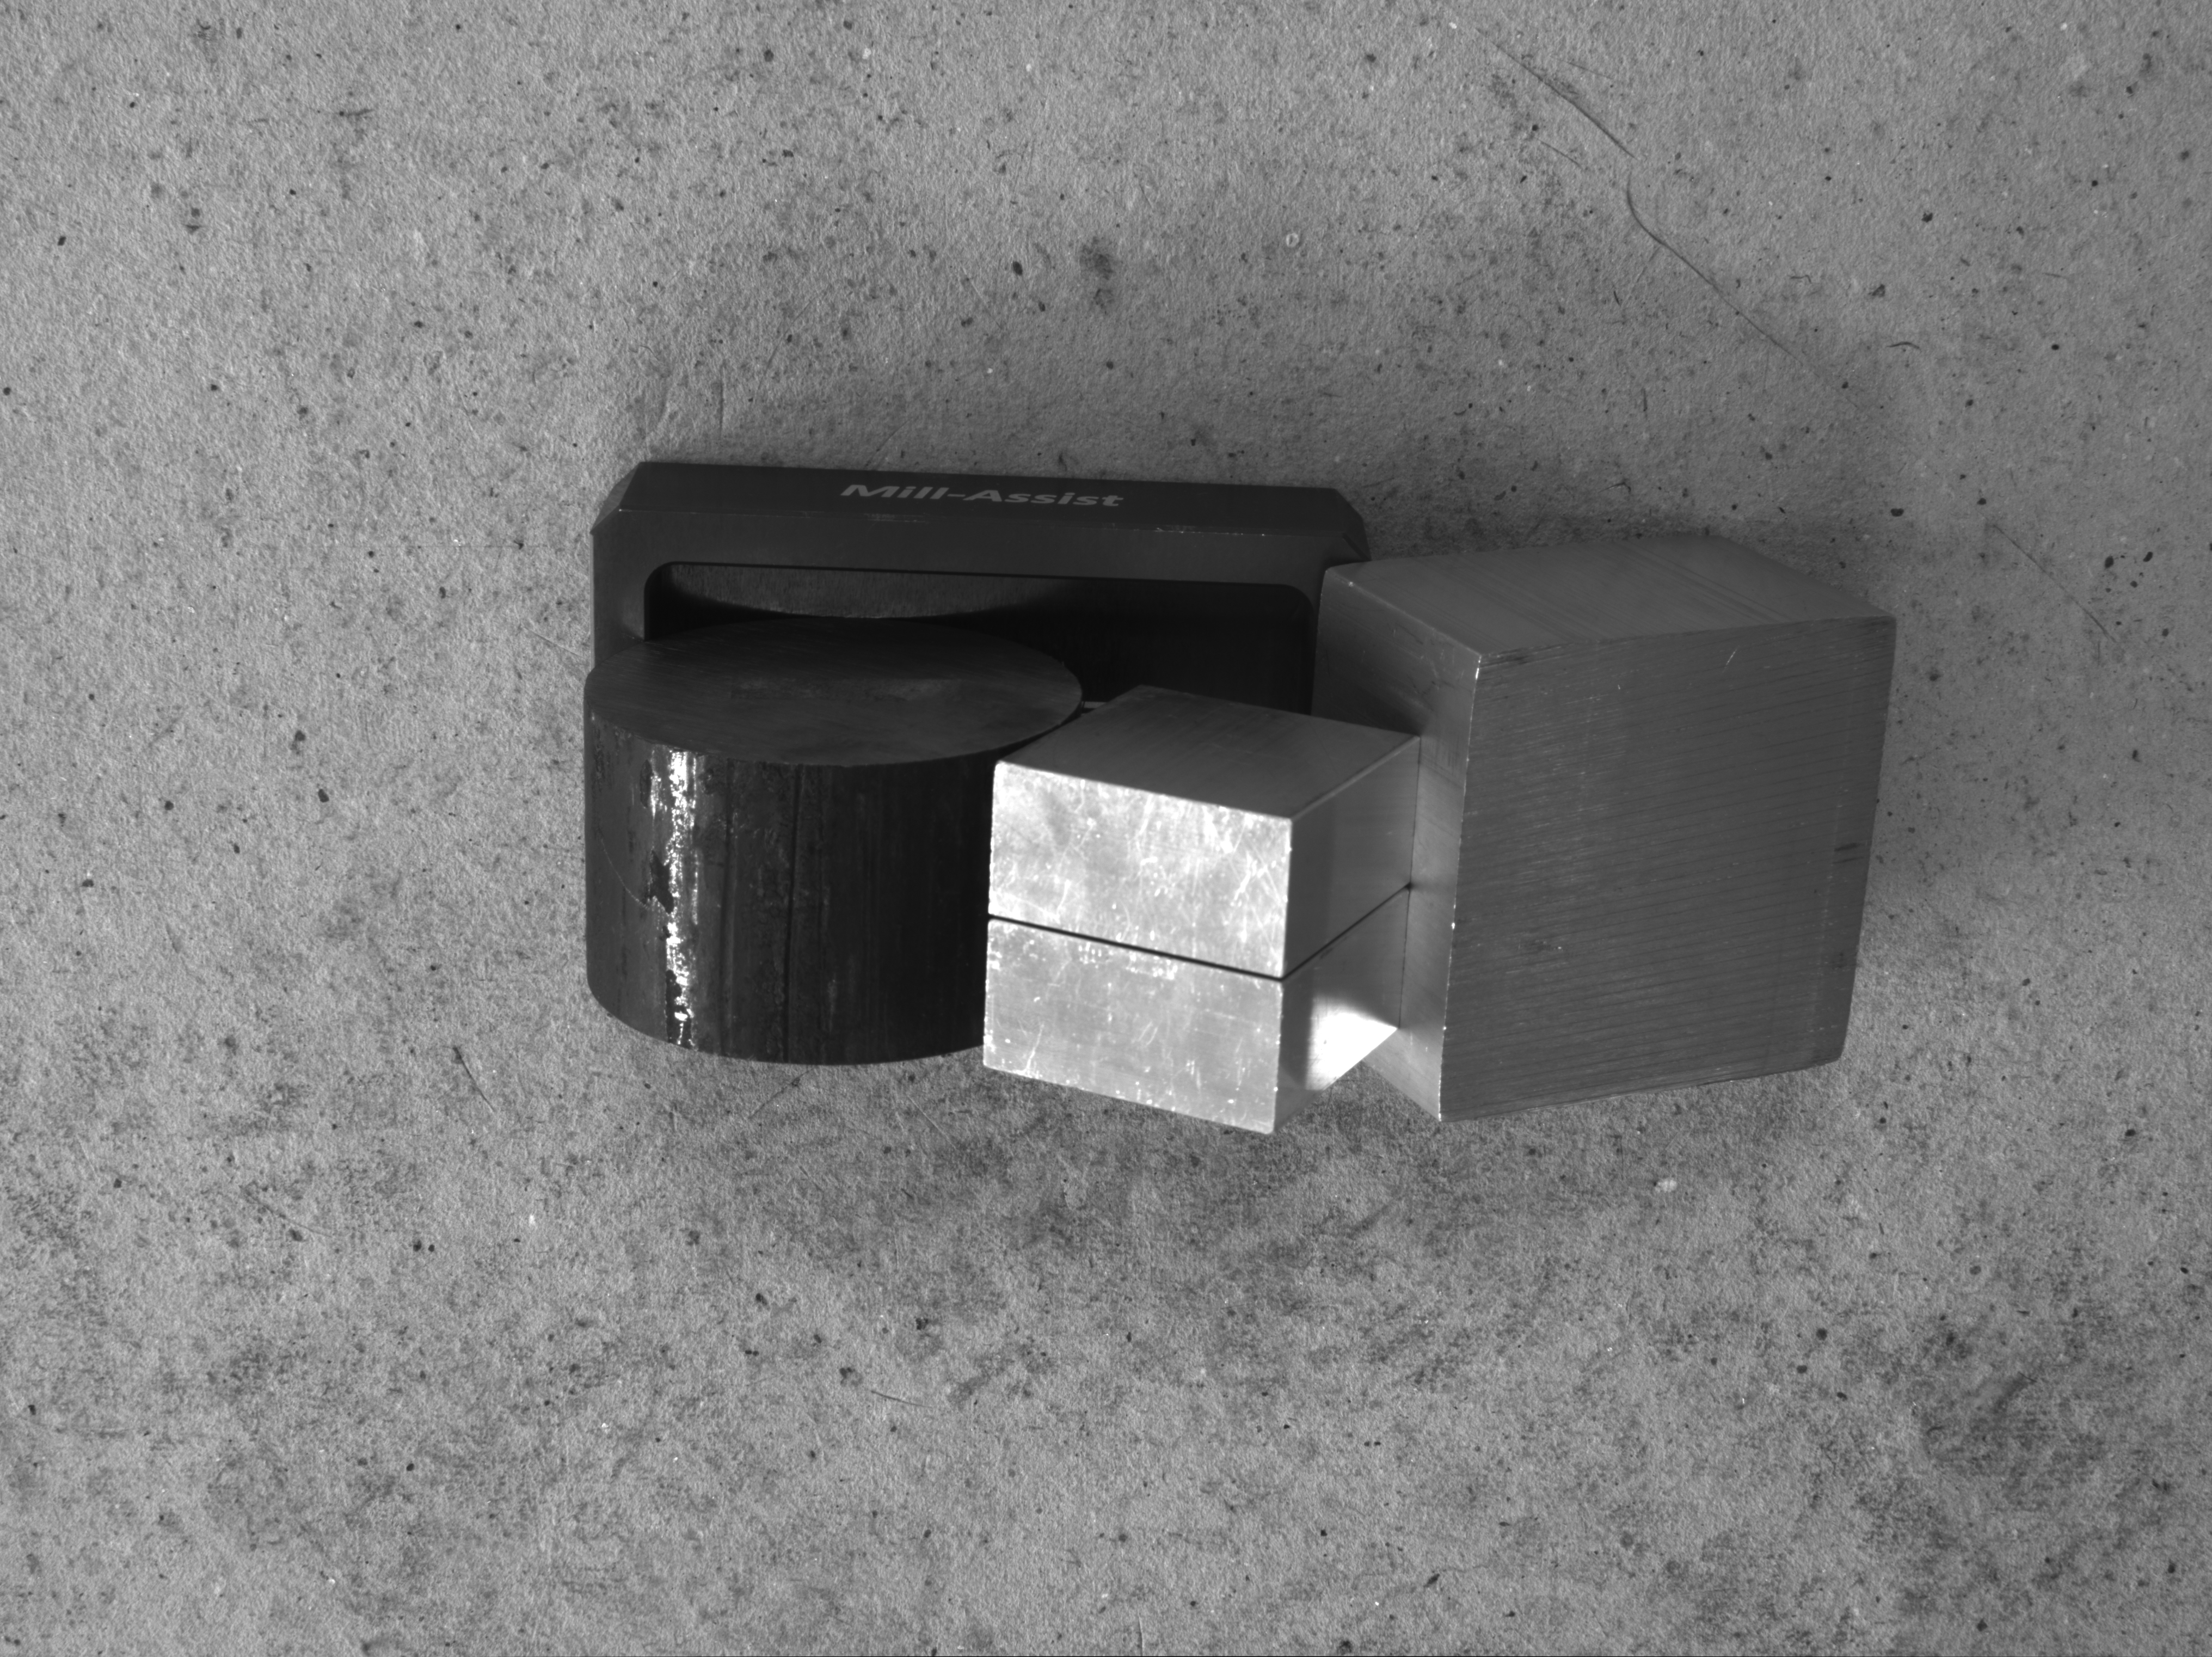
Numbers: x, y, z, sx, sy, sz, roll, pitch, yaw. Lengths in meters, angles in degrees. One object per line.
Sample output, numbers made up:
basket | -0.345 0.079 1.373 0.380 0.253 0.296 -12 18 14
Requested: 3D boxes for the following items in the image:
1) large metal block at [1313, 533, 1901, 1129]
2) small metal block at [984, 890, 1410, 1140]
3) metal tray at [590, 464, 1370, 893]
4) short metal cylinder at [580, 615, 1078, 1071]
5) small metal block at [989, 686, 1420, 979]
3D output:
large metal block | 0.080 -0.002 0.615 0.080 0.050 0.080 -7 112 -25
small metal block | 0.015 0.024 0.584 0.050 0.050 0.025 11 110 24
metal tray | -0.022 -0.014 0.636 0.130 0.030 0.090 2 110 -1
short metal cylinder | -0.045 0.001 0.602 0.080 0.080 0.050 1 110 0
small metal block | 0.016 0.000 0.575 0.050 0.050 0.025 11 110 24
